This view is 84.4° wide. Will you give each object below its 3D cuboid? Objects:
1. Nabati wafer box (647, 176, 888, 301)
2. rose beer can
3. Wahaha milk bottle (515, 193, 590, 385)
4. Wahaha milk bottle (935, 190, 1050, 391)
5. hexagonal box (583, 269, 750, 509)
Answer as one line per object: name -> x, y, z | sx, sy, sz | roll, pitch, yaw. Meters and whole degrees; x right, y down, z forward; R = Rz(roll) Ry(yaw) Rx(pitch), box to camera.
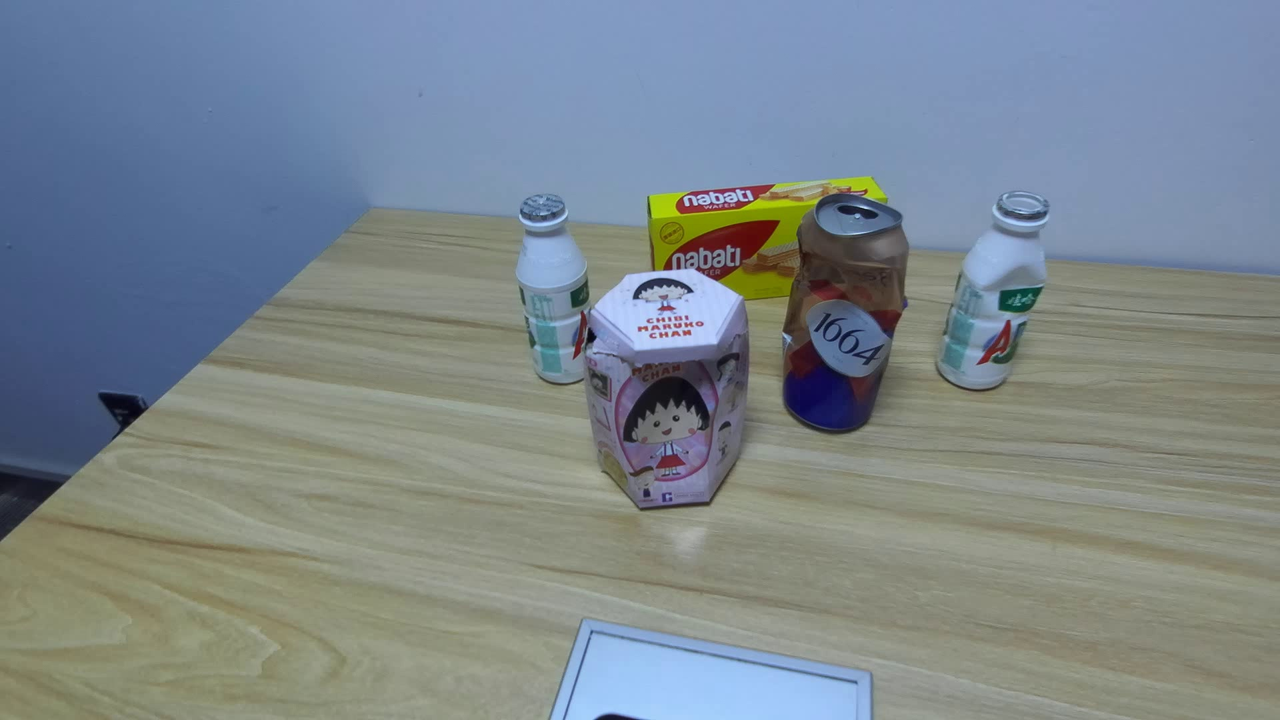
Nabati wafer box -> 0.109, -0.102, 0.621 | 0.203, 0.093, 0.042 | -6, 38, -3
rose beer can -> 0.134, -0.027, 0.476 | 0.073, 0.162, 0.068 | 8, 39, 12
Wahaha milk bottle -> -0.063, -0.052, 0.534 | 0.053, 0.147, 0.053 | -2, 42, 2
Wahaha milk bottle -> 0.253, -0.046, 0.503 | 0.056, 0.148, 0.056 | -2, 41, 2
hexagonal box -> 0.016, 0.019, 0.451 | 0.091, 0.135, 0.090 | 22, 44, 29
